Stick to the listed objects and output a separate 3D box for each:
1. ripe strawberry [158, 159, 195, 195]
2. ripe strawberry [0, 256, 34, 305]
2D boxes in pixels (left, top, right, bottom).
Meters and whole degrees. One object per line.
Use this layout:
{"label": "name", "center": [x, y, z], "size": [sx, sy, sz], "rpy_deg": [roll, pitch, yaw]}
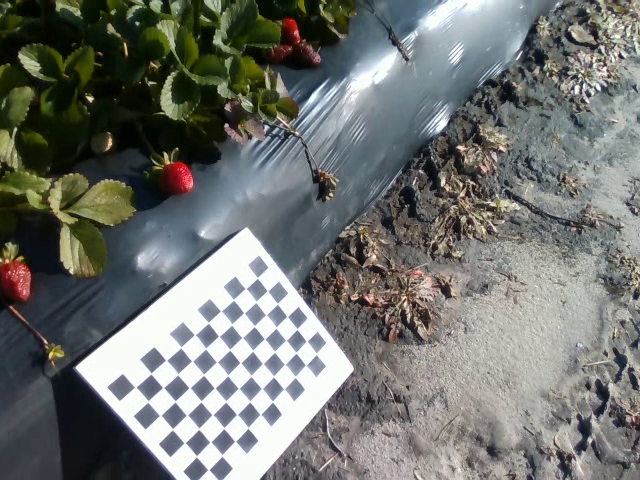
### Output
{"label": "ripe strawberry", "center": [-0.170, -0.070, 0.715], "size": [0.042, 0.043, 0.050], "rpy_deg": [-2, 35, -34]}
{"label": "ripe strawberry", "center": [-0.313, 0.045, 0.619], "size": [0.041, 0.043, 0.053], "rpy_deg": [-31, 54, -35]}
